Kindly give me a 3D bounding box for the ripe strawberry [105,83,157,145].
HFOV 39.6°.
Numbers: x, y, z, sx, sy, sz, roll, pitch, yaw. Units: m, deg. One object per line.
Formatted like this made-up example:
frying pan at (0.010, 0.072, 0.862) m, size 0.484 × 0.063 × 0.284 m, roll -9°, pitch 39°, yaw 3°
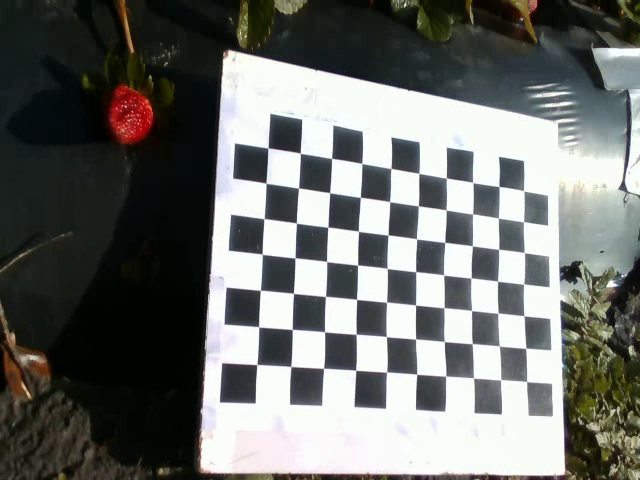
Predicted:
ripe strawberry at (-0.043, -0.028, 0.198) m, size 0.015 × 0.015 × 0.023 m, roll 16°, pitch 24°, yaw -24°
